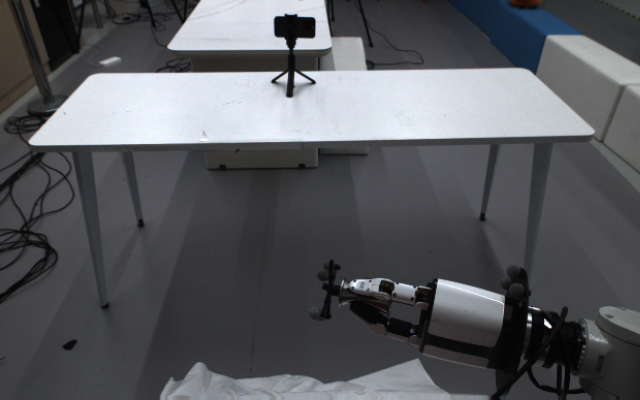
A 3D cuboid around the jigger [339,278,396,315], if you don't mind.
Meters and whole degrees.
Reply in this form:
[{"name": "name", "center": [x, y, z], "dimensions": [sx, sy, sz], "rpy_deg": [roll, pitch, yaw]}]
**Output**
[{"name": "jigger", "center": [0.070, 0.126, 0.654], "dimensions": [0.071, 0.043, 0.043], "rpy_deg": [7, 35, 12]}]
